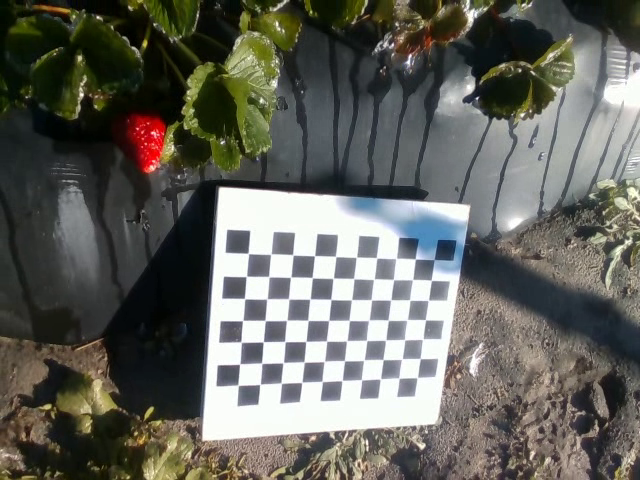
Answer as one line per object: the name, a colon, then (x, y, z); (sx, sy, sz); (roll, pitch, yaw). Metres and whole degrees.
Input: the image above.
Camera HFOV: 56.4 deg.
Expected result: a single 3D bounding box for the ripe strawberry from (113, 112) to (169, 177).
ripe strawberry: (-0.127, -0.069, 0.424); (0.041, 0.053, 0.047); (-4, -24, -18)
